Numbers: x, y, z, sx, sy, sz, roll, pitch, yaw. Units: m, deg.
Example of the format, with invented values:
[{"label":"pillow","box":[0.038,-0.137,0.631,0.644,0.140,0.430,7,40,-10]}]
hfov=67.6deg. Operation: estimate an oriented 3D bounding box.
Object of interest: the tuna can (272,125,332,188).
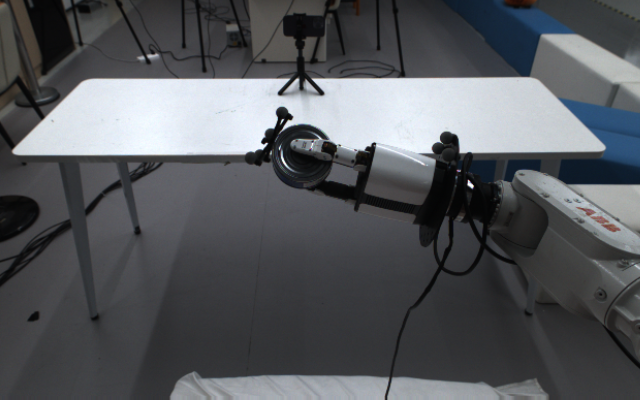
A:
[{"label":"tuna can","box":[-0.021,-0.057,0.666,0.085,0.034,0.085,1,76,-5]}]
